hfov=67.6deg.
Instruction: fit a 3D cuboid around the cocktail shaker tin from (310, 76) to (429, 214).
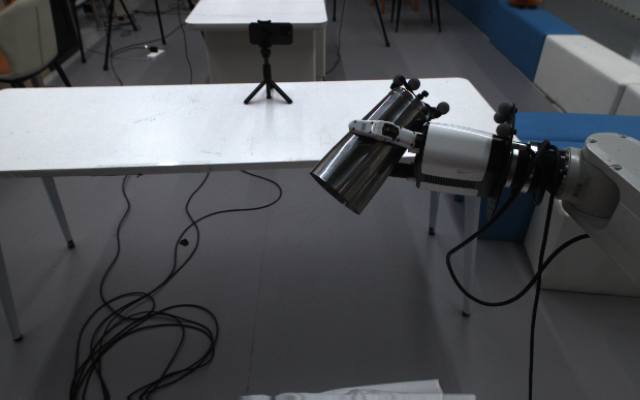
[{"bbox_3d":[0.075,-0.077,0.681,0.170,0.093,0.093,-48,49,-4],"label":"cocktail shaker tin"}]
